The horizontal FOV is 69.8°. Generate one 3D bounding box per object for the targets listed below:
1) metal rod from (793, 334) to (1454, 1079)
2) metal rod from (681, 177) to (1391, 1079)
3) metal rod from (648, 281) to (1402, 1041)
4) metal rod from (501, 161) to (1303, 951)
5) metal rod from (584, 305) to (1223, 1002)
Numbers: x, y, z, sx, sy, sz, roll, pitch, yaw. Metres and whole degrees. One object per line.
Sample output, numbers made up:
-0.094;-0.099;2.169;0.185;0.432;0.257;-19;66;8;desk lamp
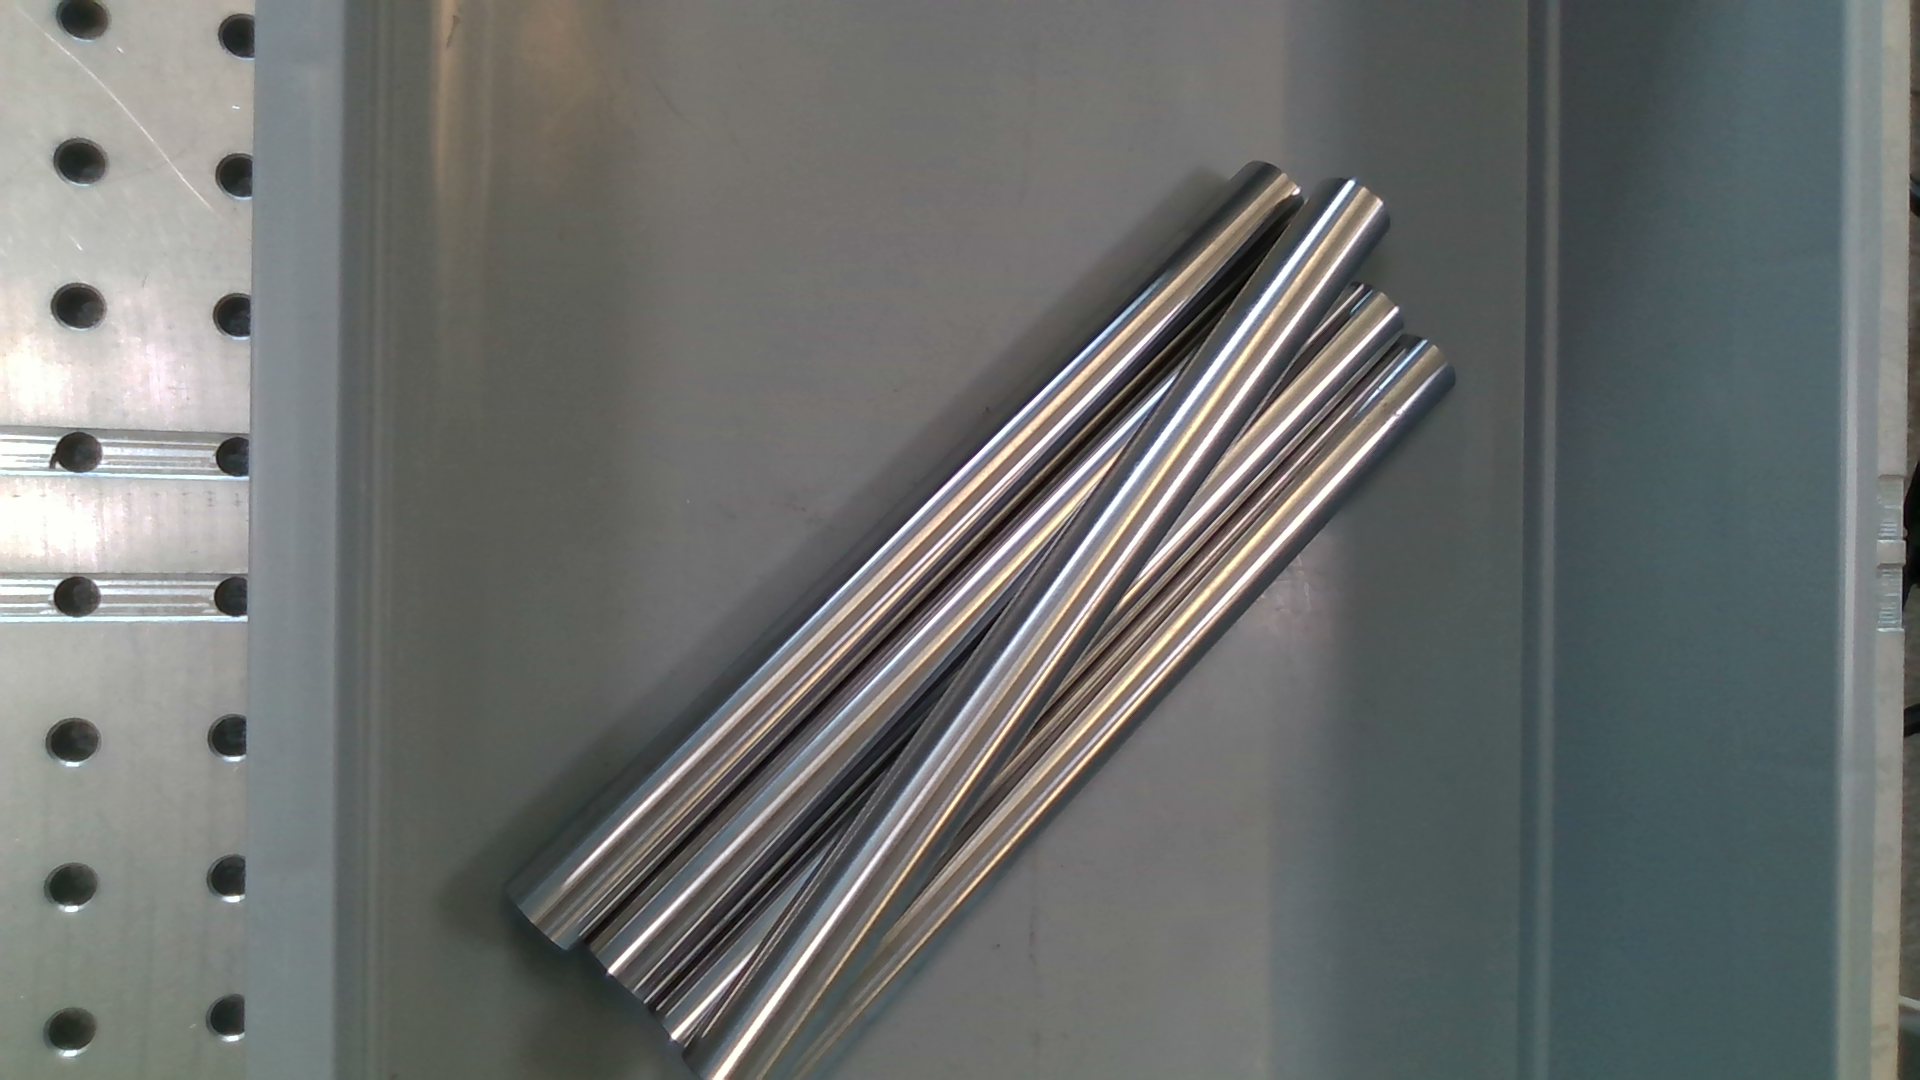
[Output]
0.047;0.045;0.410;0.300;0.025;0.025;-45;104;-14;metal rod
0.028;0.018;0.376;0.025;0.025;0.300;40;77;-16;metal rod
0.028;0.029;0.404;0.300;0.025;0.025;-45;104;-14;metal rod
-0.006;-0.006;0.391;0.300;0.025;0.025;-45;104;-14;metal rod
0.013;0.010;0.398;0.300;0.025;0.025;-45;104;-14;metal rod
